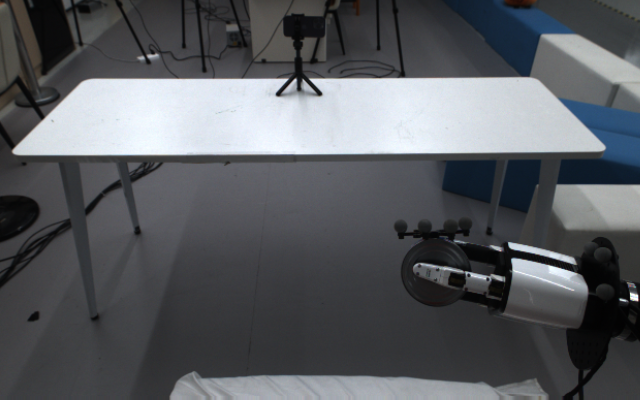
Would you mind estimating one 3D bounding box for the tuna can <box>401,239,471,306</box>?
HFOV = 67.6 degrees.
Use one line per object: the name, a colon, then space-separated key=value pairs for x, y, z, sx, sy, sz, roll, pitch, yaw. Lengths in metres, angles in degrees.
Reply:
tuna can: x=0.148 y=0.088 z=0.614 sx=0.085 sy=0.085 sz=0.034 roll=11 pitch=2 yaw=12
